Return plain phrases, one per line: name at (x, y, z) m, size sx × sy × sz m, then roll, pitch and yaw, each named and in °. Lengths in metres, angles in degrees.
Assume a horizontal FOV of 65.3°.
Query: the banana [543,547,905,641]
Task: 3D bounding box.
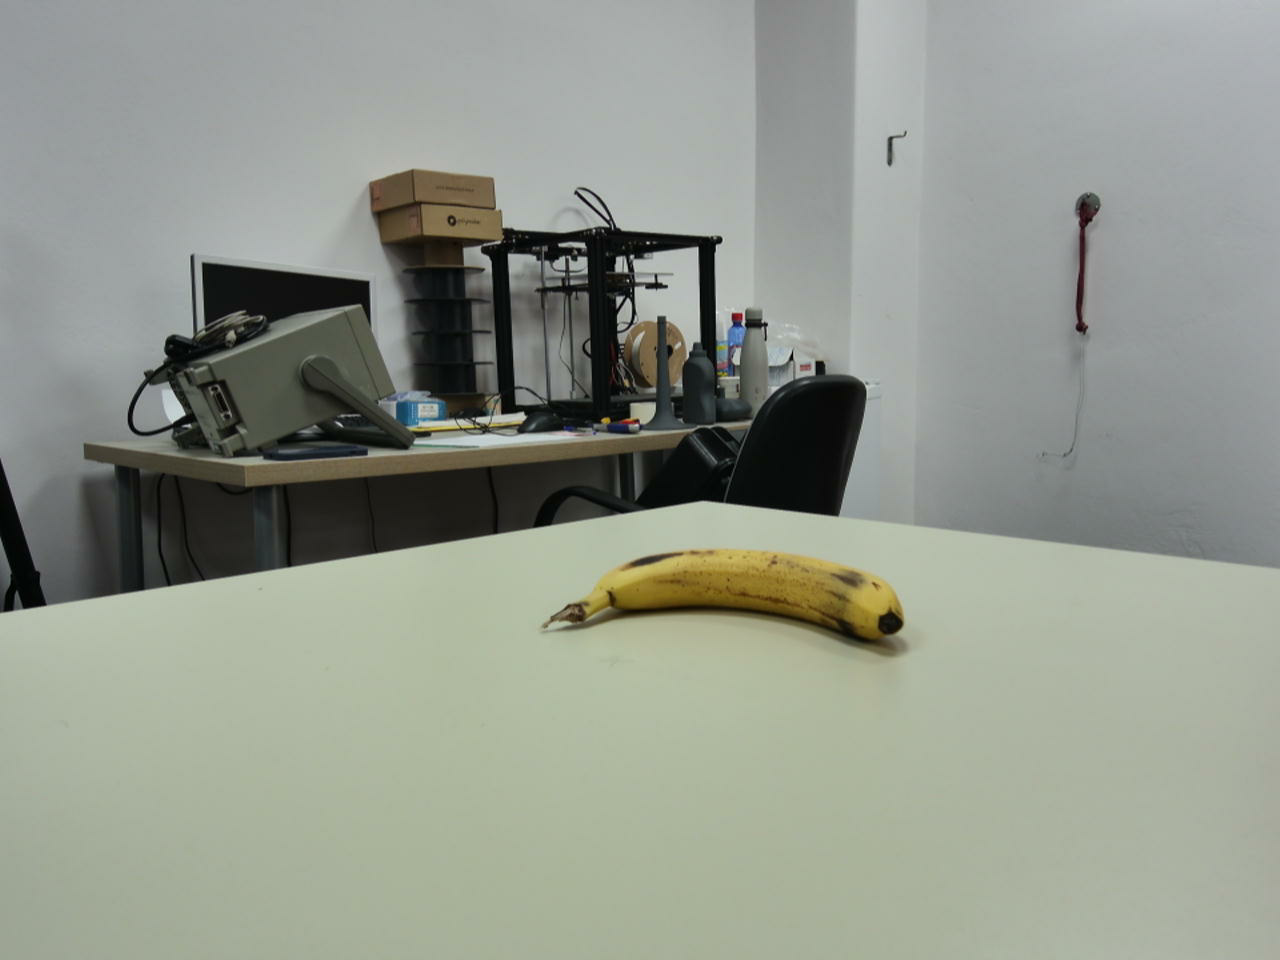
banana at (0.057, 0.063, 0.568) m, size 0.186 × 0.038 × 0.097 m, roll 3°, pitch 6°, yaw 20°
